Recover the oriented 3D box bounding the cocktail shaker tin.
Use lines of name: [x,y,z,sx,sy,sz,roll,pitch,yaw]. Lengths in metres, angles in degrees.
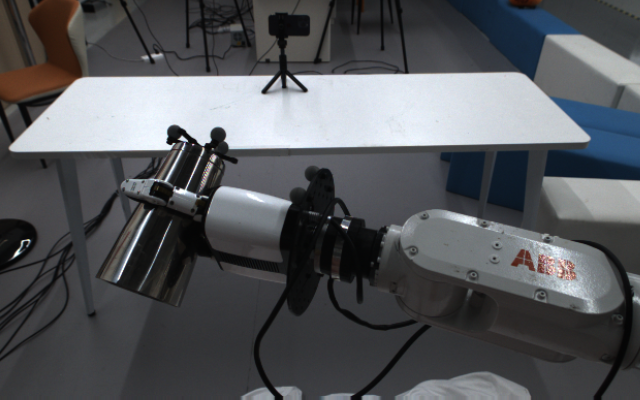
cocktail shaker tin: [-0.168,0.025,0.544,0.093,0.093,0.170,13,70,15]
